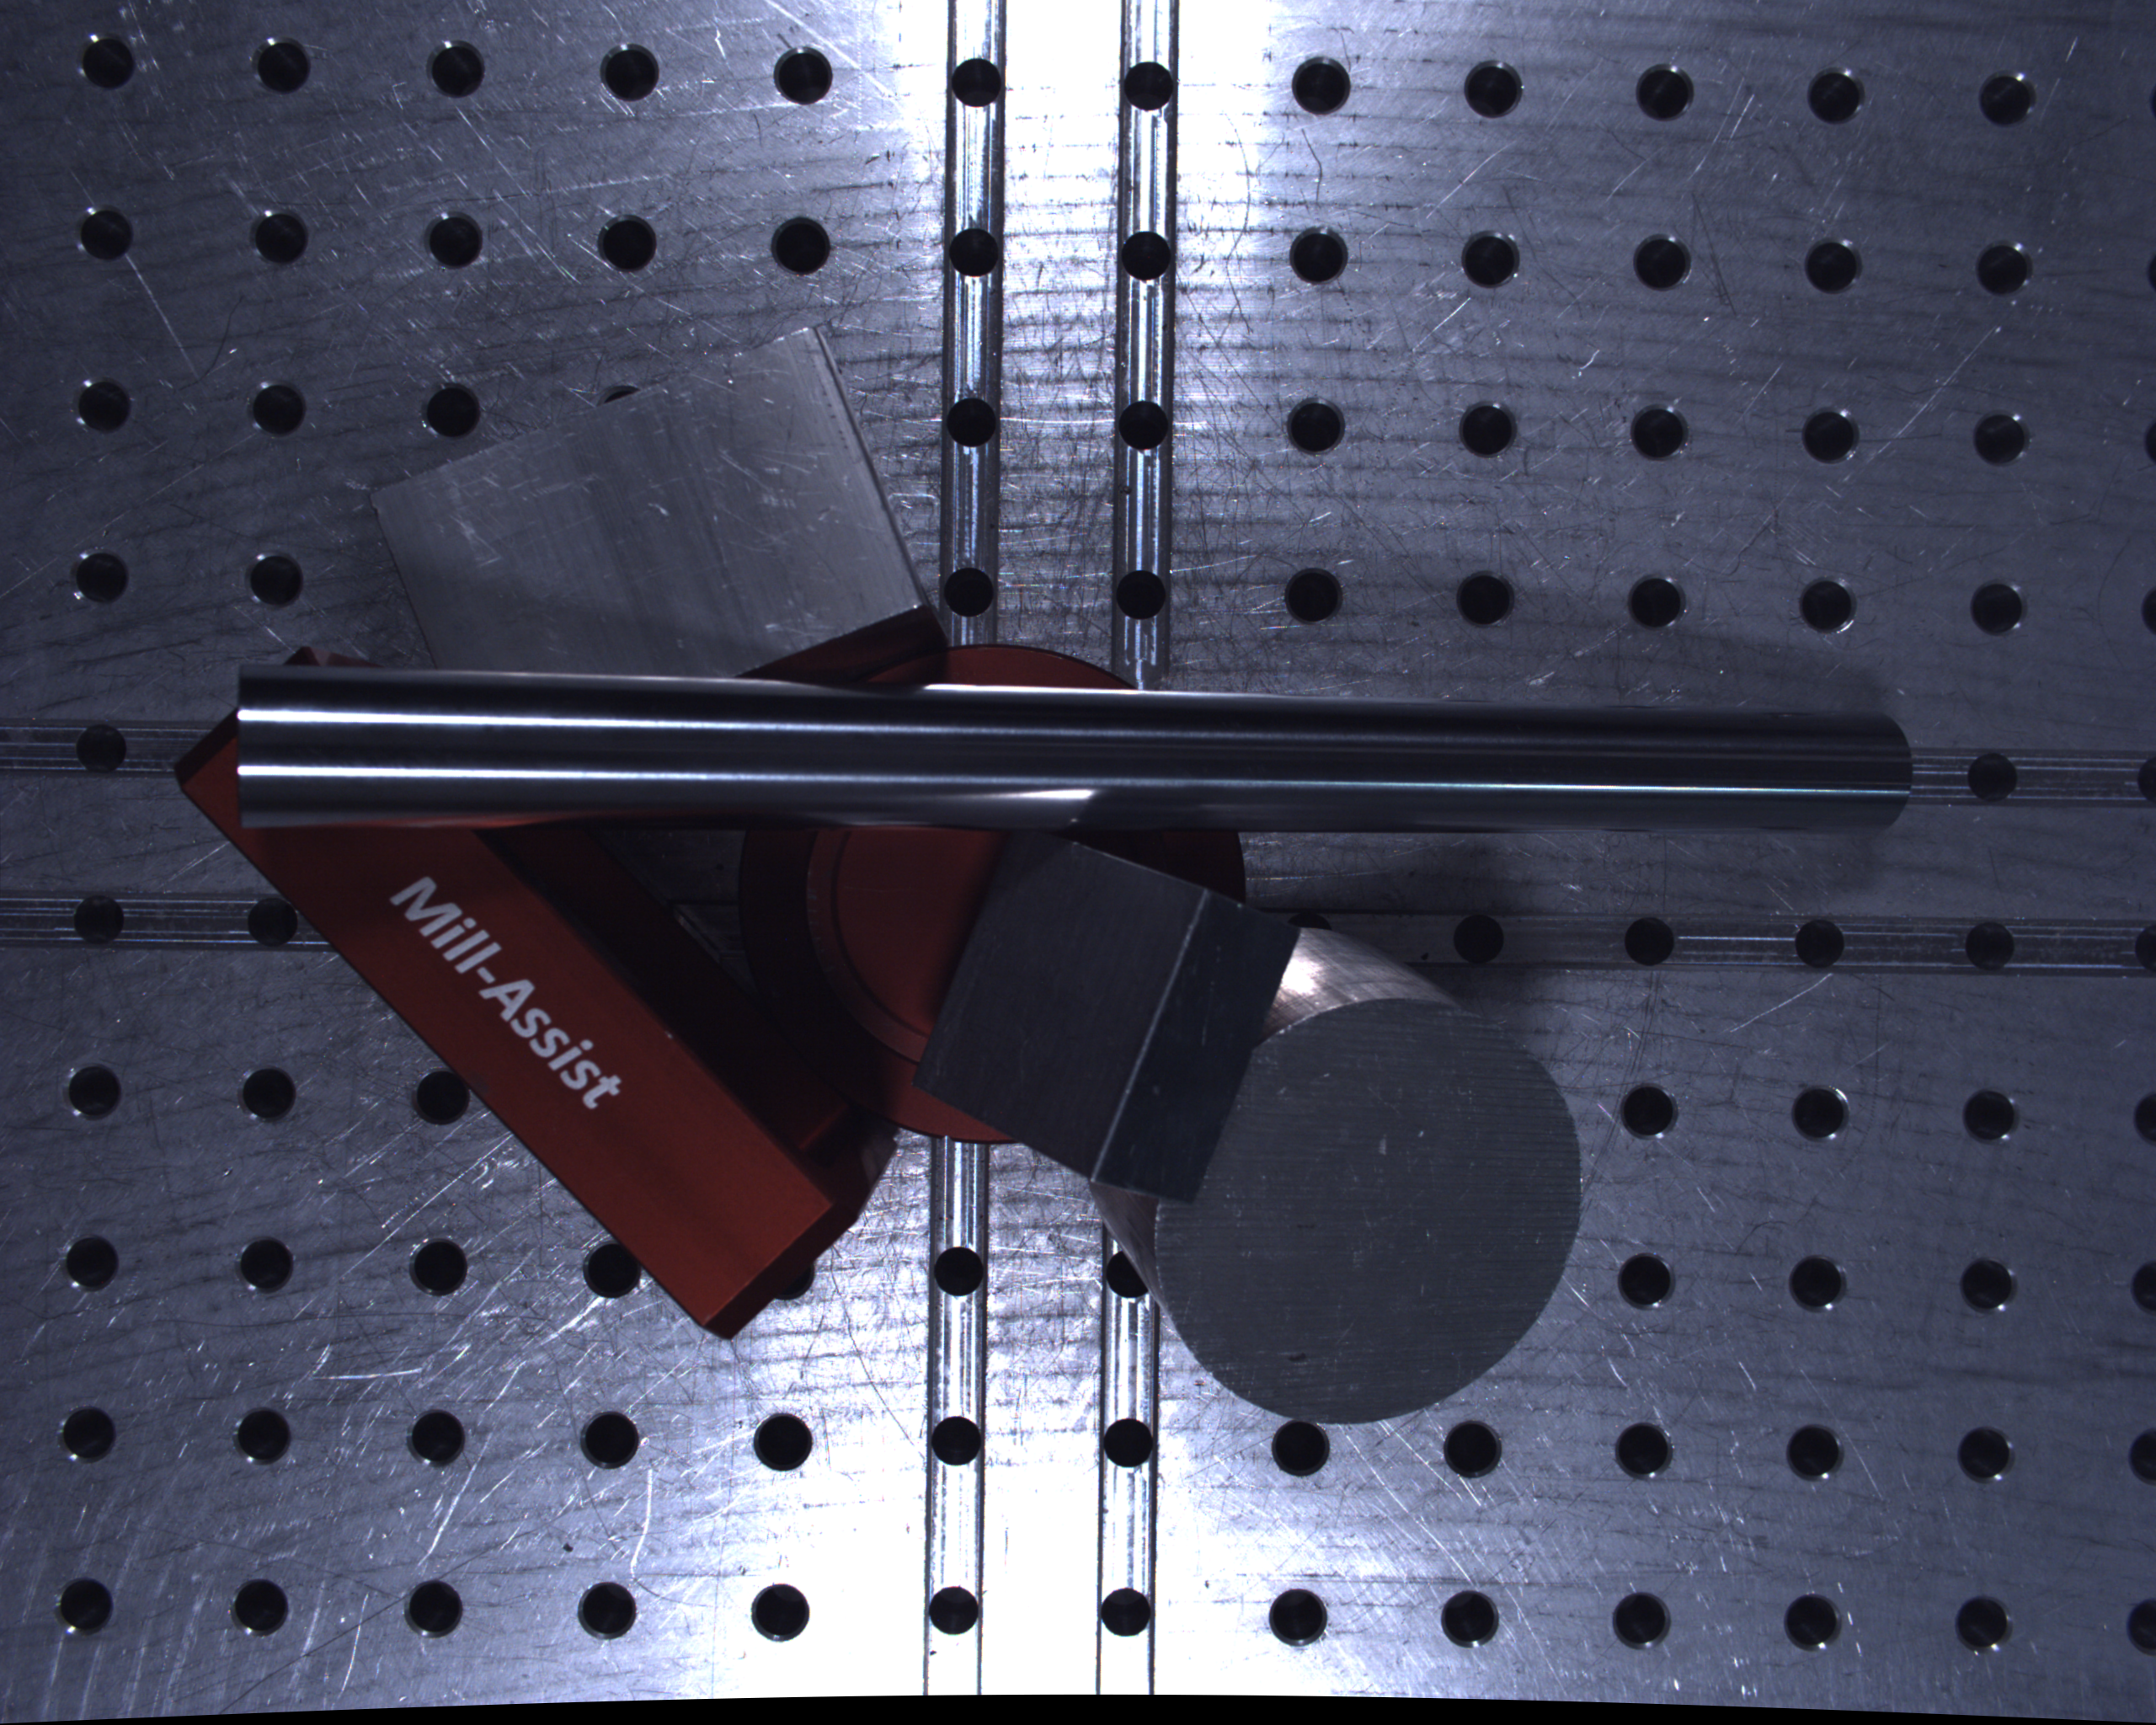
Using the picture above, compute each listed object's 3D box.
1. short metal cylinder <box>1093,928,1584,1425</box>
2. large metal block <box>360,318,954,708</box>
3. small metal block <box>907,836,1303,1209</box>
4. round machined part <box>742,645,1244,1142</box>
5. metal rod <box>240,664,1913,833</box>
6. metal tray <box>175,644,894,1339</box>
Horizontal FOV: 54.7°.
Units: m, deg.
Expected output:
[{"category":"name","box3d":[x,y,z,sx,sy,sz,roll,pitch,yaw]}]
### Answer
[{"category":"short metal cylinder","box3d":[0.046,0.057,0.389,0.081,0.050,0.079,-4,103,-15]},{"category":"large metal block","box3d":[-0.072,-0.053,0.383,0.080,0.080,0.050,-21,90,0]},{"category":"small metal block","box3d":[0.004,0.025,0.357,0.025,0.050,0.050,23,87,-43]},{"category":"round machined part","box3d":[-0.017,0.006,0.407,0.099,0.042,0.097,0,90,-1]},{"category":"metal rod","box3d":[0.016,-0.018,0.366,0.303,0.025,0.025,0,90,-20]},{"category":"metal tray","box3d":[-0.092,0.021,0.379,0.030,0.090,0.130,-44,91,0]}]
